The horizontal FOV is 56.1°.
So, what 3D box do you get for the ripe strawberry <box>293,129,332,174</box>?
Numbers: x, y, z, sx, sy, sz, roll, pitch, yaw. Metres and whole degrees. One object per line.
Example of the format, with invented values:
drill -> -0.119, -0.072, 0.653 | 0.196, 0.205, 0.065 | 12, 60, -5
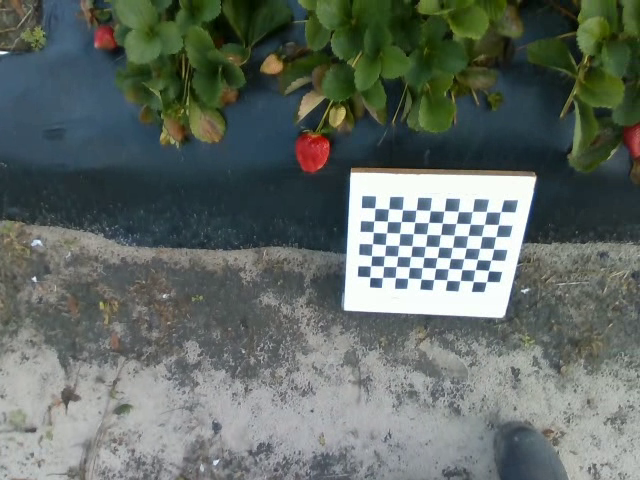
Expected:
ripe strawberry -> -0.015, -0.153, 1.023 | 0.067, 0.075, 0.039 | 7, 28, 3
